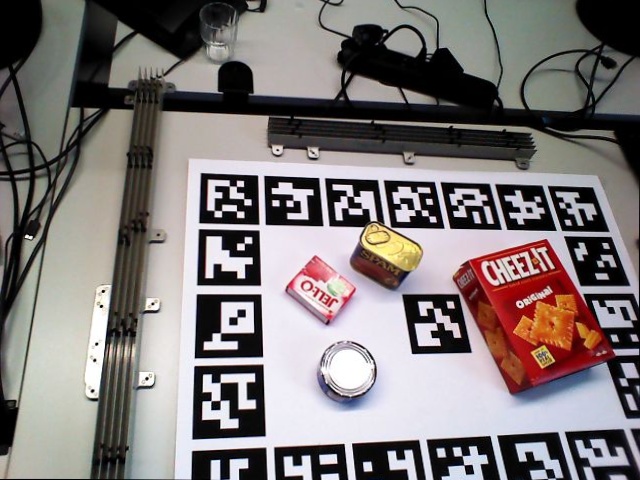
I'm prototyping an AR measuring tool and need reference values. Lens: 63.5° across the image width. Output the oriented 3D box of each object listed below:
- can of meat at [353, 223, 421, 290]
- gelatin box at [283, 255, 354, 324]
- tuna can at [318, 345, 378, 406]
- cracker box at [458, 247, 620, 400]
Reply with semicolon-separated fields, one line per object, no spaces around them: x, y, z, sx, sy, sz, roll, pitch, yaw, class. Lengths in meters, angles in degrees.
0.109;0.031;0.858;0.102;0.084;0.057;27;59;7;can of meat
-0.002;0.079;0.835;0.089;0.030;0.073;39;59;10;gelatin box
0.041;0.201;0.767;0.086;0.034;0.085;3;64;-7;tuna can
0.354;0.130;0.848;0.164;0.072;0.213;-13;62;-18;cracker box
